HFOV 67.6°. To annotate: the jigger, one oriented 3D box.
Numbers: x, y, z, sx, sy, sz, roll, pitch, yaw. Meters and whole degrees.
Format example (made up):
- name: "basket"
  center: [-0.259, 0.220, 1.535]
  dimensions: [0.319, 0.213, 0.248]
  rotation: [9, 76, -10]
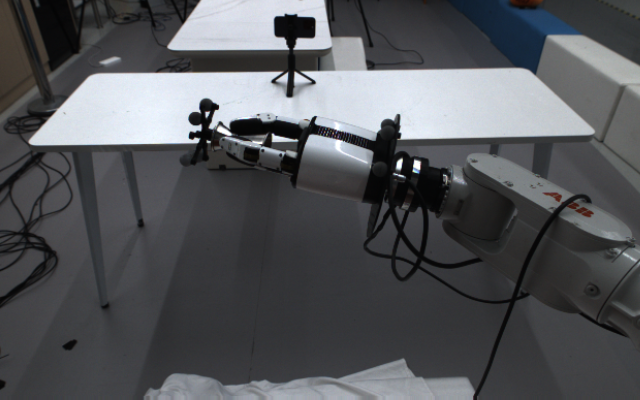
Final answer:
- name: "jigger"
  center: [-0.094, -0.075, 0.621]
  dimensions: [0.071, 0.043, 0.043]
  rotation: [14, 36, 4]
